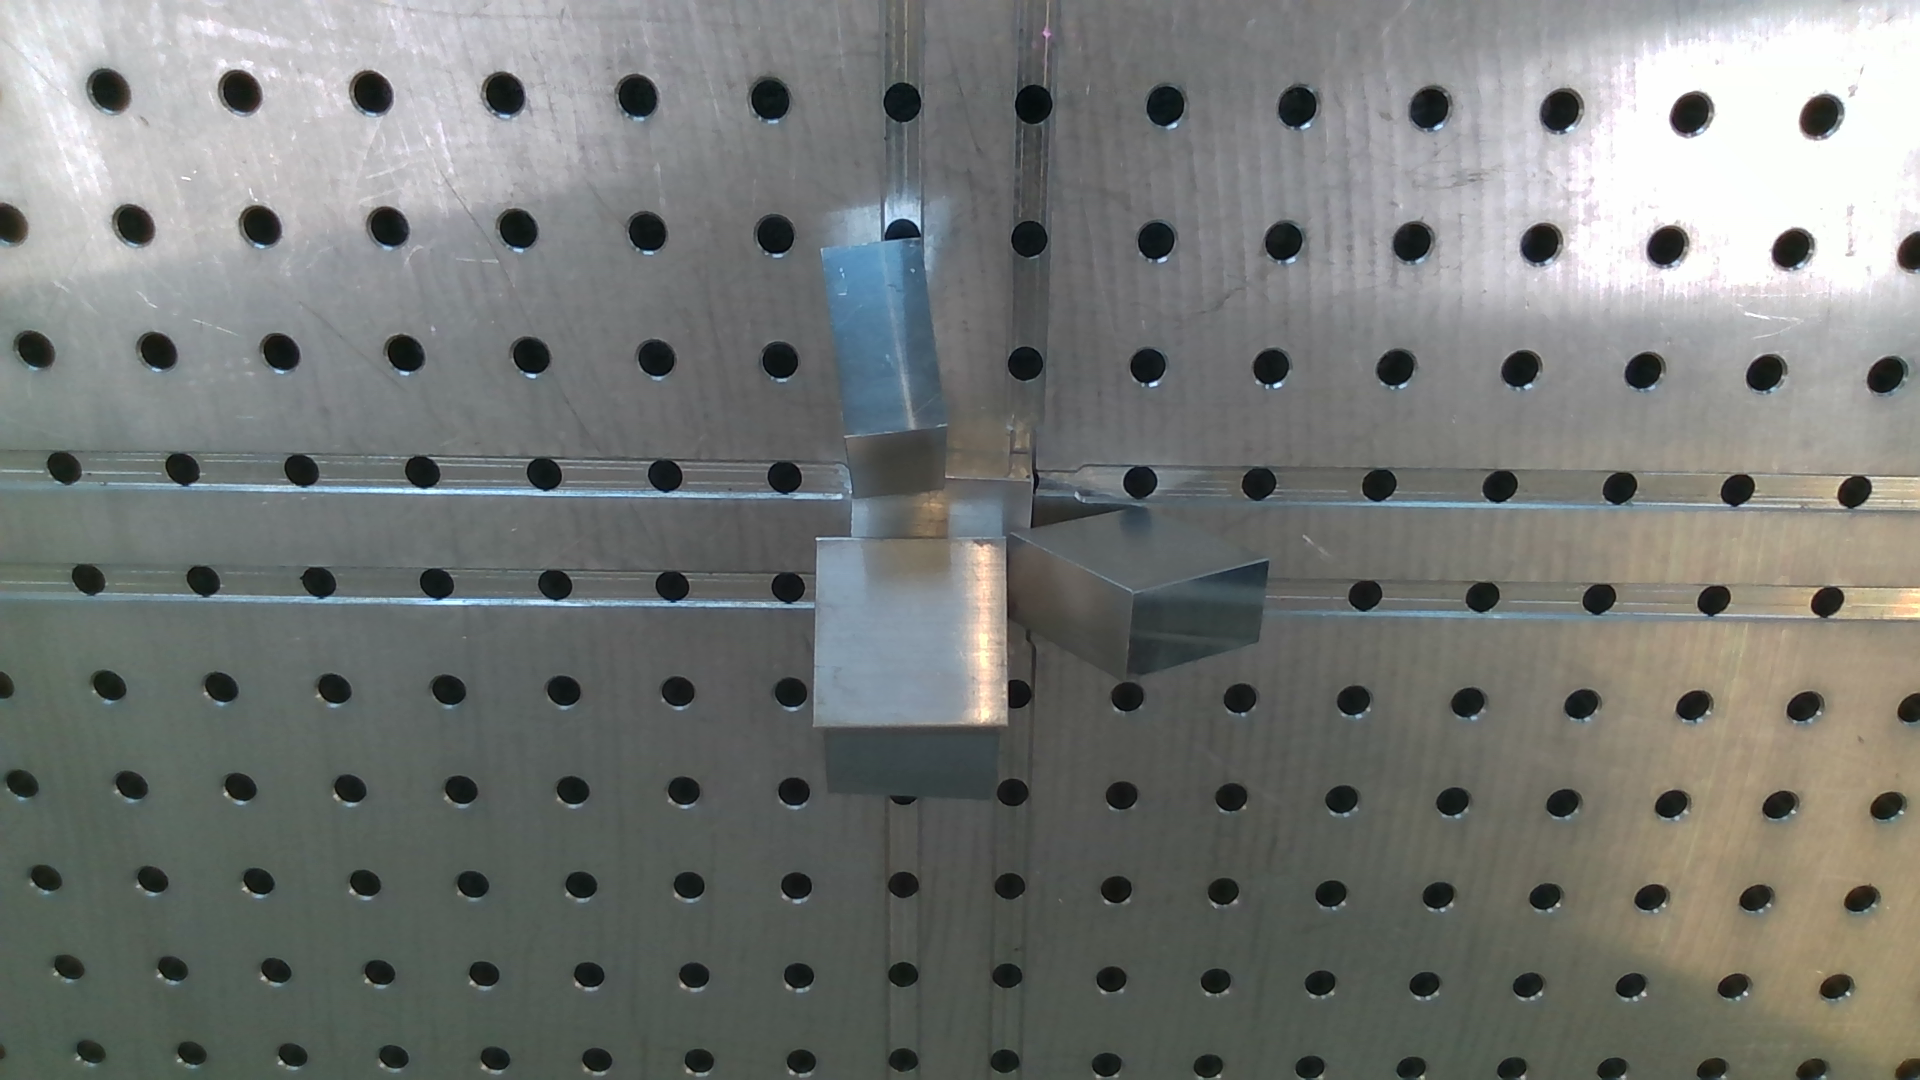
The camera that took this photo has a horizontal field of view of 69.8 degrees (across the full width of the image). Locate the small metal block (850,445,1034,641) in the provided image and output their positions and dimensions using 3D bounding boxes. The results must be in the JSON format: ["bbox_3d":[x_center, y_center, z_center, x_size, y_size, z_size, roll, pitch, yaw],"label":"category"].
[{"bbox_3d":[-0.006,0.000,0.396,0.050,0.025,0.050,2,110,-1],"label":"small metal block"}]

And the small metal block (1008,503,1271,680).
[{"bbox_3d":[0.048,0.012,0.376,0.050,0.050,0.025,-11,114,-35],"label":"small metal block"}]

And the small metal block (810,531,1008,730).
[{"bbox_3d":[-0.013,0.025,0.366,0.050,0.025,0.050,-1,77,0],"label":"small metal block"}]

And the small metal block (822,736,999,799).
[{"bbox_3d":[-0.014,0.052,0.403,0.050,0.025,0.050,2,141,-1],"label":"small metal block"}]

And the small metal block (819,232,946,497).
[{"bbox_3d":[-0.020,-0.044,0.355,0.025,0.050,0.050,-7,75,-4],"label":"small metal block"}]
